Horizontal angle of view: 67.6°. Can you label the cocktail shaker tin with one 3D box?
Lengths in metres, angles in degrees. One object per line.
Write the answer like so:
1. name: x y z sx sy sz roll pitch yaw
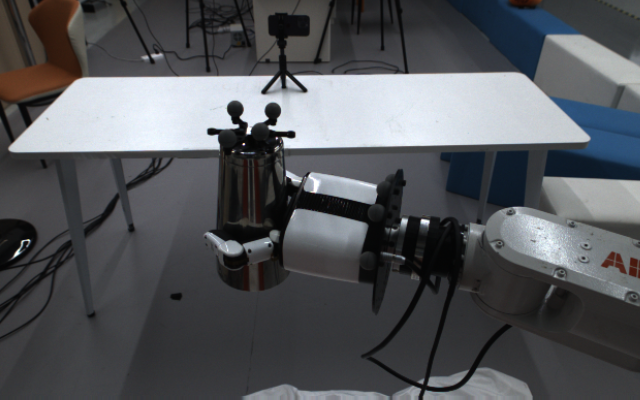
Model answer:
1. cocktail shaker tin: -0.072 0.009 0.546 0.093 0.170 0.093 3 34 -2
